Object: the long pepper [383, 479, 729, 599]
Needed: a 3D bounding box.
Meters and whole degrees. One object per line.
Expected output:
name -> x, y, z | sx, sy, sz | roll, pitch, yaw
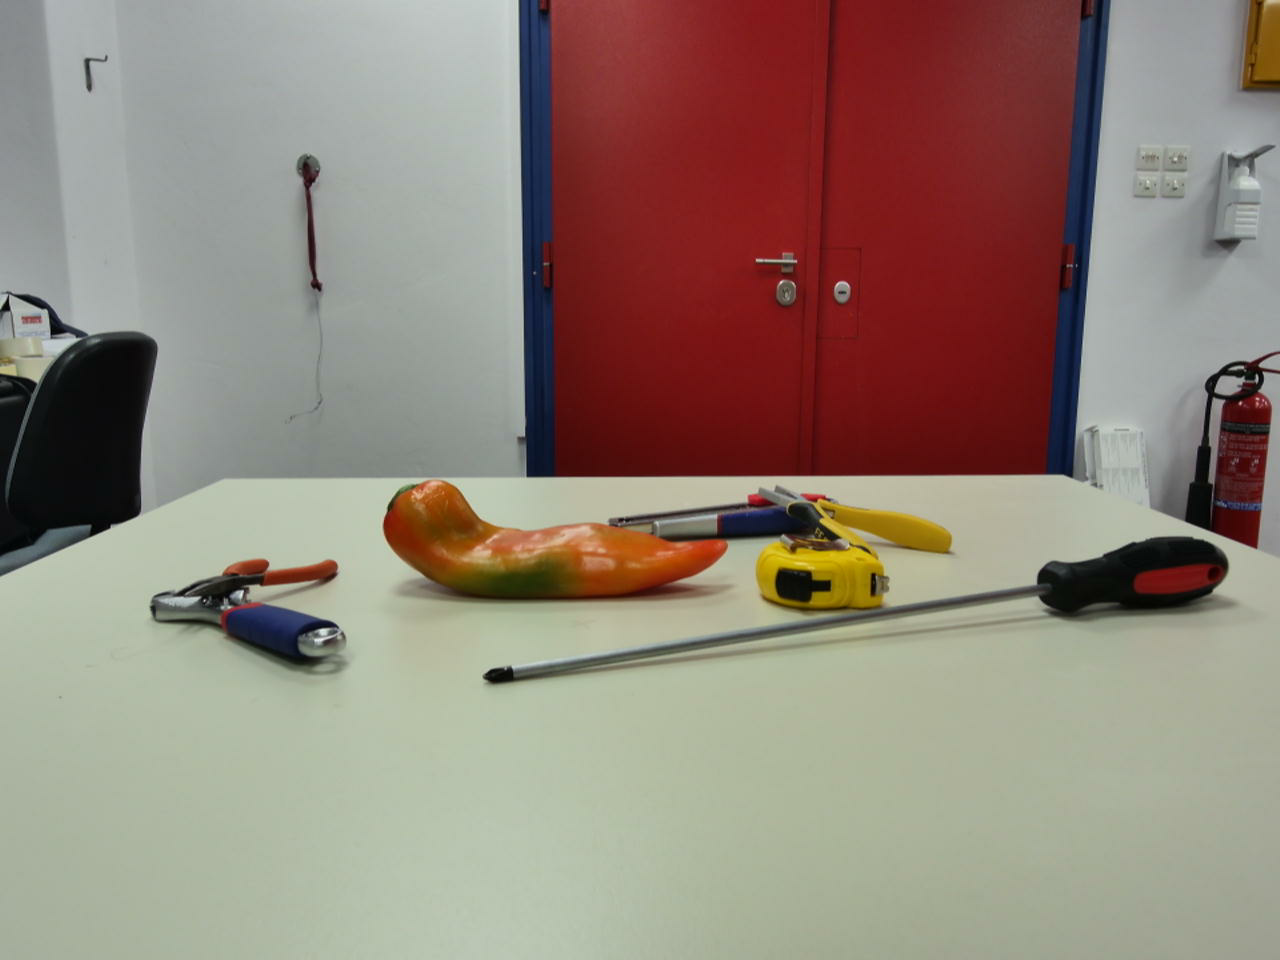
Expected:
long pepper -> -0.049, 0.032, 0.576 | 0.199, 0.065, 0.066 | 0, 8, 4
